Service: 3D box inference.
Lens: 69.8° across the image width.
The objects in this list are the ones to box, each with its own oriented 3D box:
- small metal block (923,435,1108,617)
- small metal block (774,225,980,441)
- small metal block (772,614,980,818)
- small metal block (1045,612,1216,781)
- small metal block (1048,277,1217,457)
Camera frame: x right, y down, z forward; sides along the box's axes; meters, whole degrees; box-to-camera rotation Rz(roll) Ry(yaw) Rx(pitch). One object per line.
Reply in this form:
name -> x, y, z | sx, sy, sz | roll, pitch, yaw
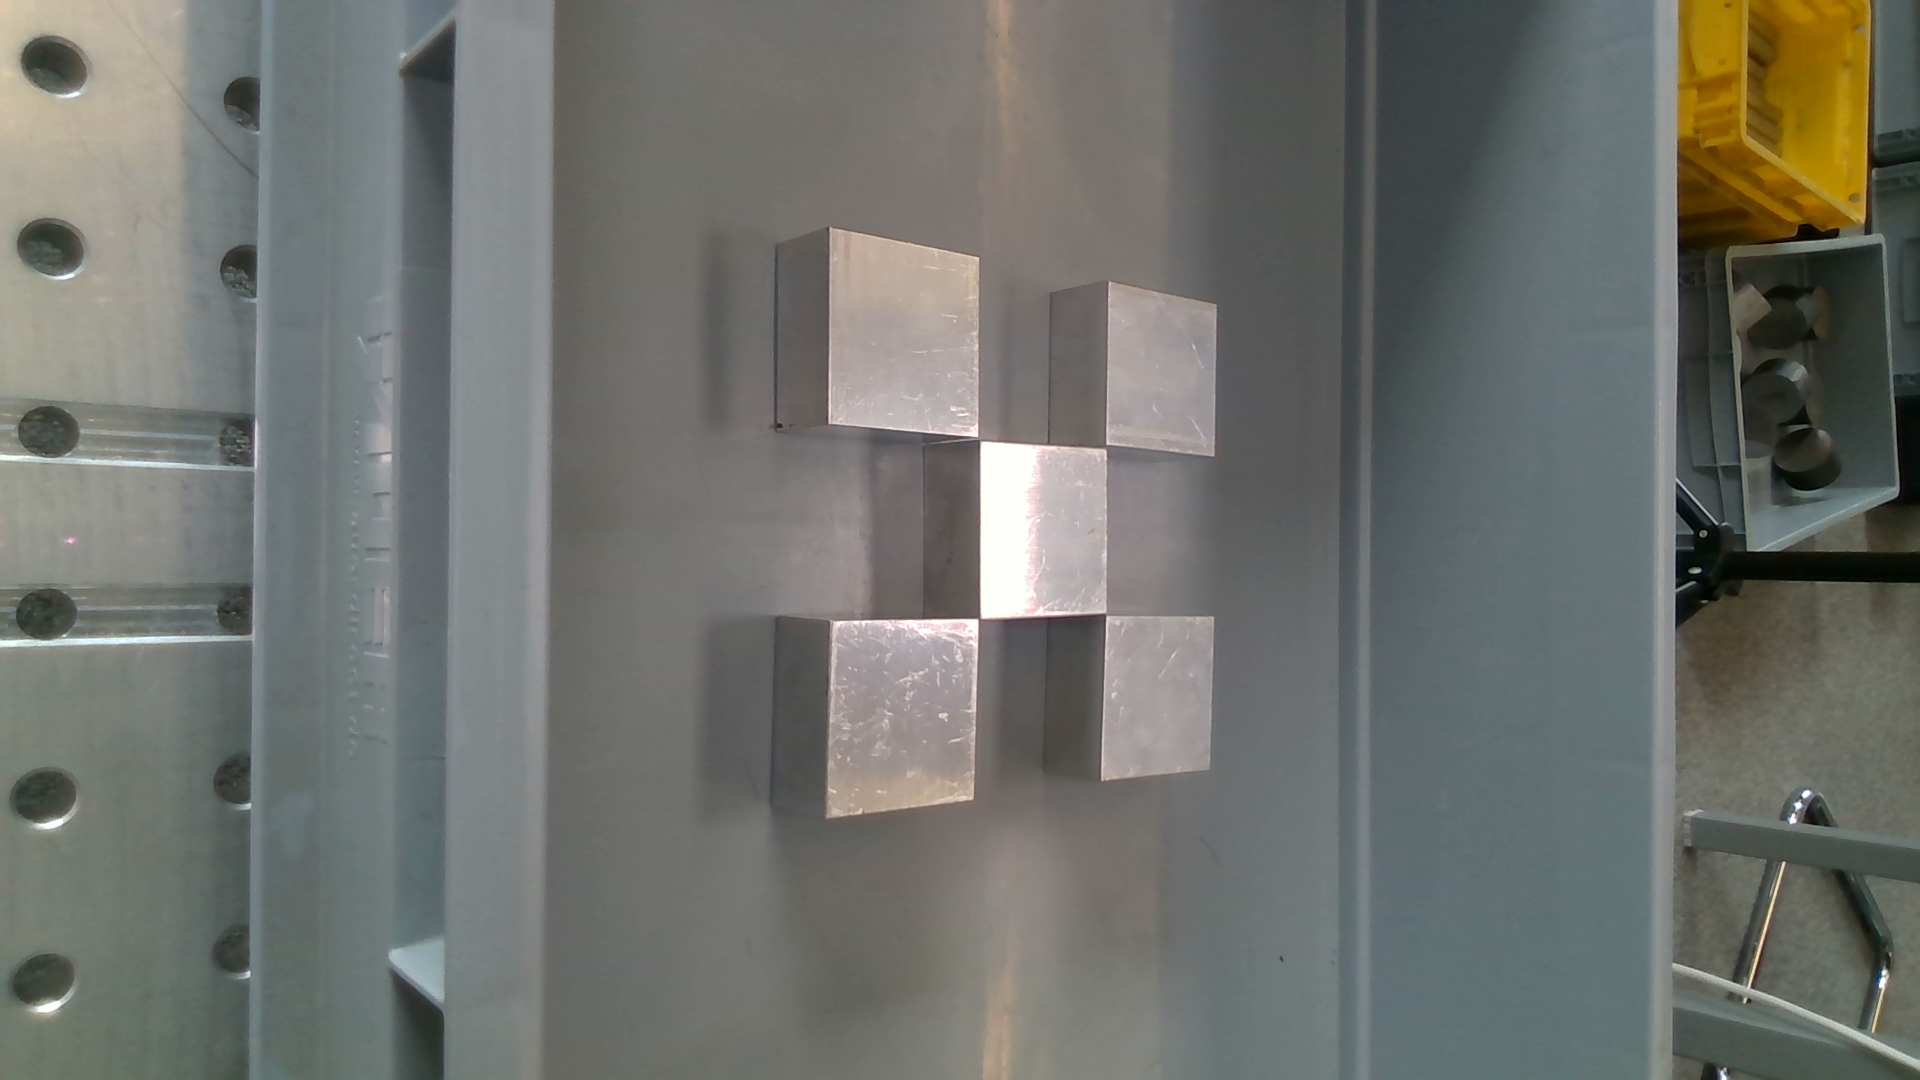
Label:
small metal block -> 0.017, -0.004, 0.403 | 0.050, 0.025, 0.050 | 0, 90, -40
small metal block -> -0.022, -0.054, 0.371 | 0.050, 0.025, 0.050 | 1, 89, -40
small metal block -> -0.022, 0.045, 0.370 | 0.050, 0.025, 0.050 | 2, 89, -40
small metal block -> 0.054, 0.048, 0.435 | 0.050, 0.025, 0.050 | 3, 88, -40
small metal block -> 0.055, -0.053, 0.436 | 0.050, 0.025, 0.050 | 2, 89, -40
